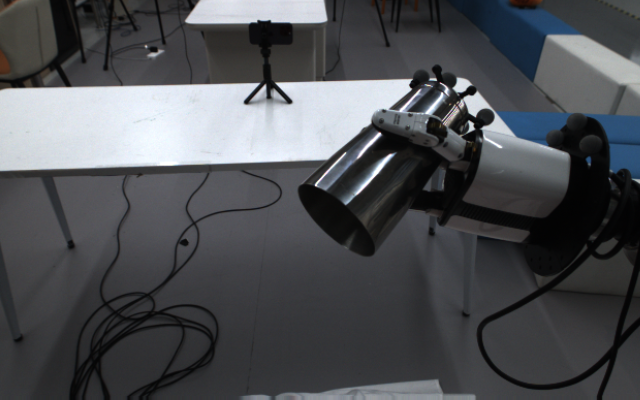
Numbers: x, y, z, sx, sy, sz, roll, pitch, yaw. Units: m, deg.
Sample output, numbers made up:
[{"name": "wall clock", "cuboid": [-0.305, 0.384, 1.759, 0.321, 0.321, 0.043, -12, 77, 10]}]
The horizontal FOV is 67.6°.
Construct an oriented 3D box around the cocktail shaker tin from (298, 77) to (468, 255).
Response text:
[{"name": "cocktail shaker tin", "cuboid": [0.070, -0.043, 0.468, 0.093, 0.093, 0.170, 32, 66, 35]}]
